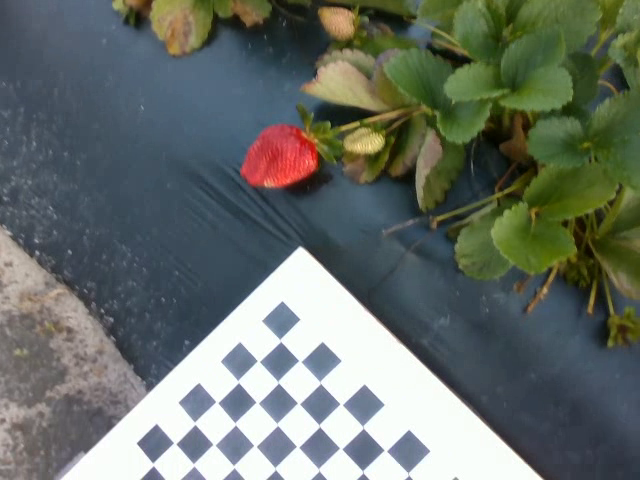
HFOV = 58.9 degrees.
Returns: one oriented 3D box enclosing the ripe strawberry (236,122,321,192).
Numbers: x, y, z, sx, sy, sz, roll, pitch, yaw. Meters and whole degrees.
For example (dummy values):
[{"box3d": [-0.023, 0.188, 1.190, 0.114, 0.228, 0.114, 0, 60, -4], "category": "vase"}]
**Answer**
[{"box3d": [-0.038, -0.077, 0.502, 0.074, 0.067, 0.039, -41, -17, -3], "category": "ripe strawberry"}]
